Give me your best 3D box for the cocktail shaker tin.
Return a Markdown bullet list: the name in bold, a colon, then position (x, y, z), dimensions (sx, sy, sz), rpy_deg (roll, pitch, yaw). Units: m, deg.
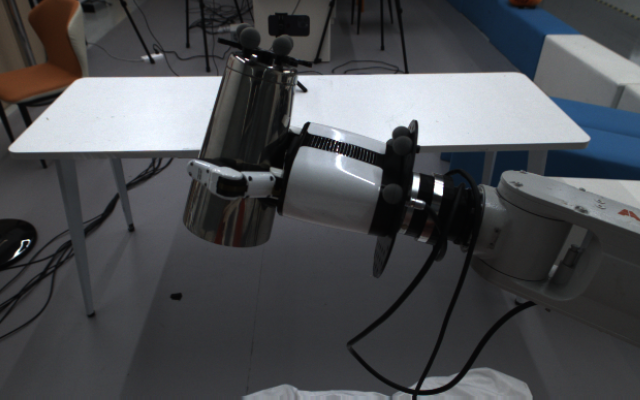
- **cocktail shaker tin**: position (-0.072, -0.049, 0.475), dimensions (0.093, 0.170, 0.093), rpy_deg (15, 20, -5)
